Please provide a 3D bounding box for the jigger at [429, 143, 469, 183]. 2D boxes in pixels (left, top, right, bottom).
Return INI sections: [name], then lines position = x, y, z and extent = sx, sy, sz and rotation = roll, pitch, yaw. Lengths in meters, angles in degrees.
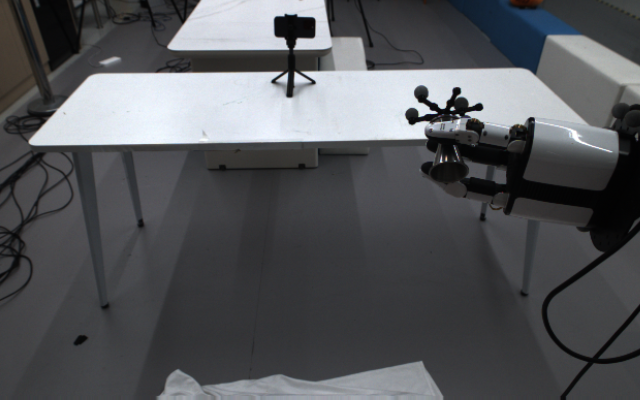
[jigger]
position = 0.146, -0.062, 0.560
extent = 0.043, 0.043, 0.071
rotation = 4, 61, 2
